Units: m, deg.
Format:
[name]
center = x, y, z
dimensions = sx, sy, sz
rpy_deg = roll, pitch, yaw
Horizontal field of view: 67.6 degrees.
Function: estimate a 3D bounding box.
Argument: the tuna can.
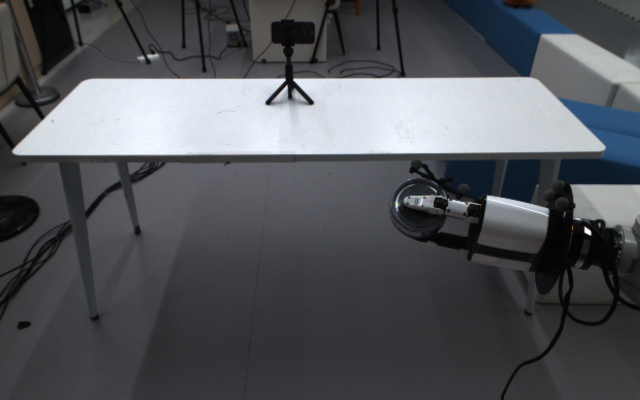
[tuna can]
center = 0.150, 0.017, 0.714
dimensions = 0.085, 0.034, 0.085
rpy_deg = -4, 69, 10
